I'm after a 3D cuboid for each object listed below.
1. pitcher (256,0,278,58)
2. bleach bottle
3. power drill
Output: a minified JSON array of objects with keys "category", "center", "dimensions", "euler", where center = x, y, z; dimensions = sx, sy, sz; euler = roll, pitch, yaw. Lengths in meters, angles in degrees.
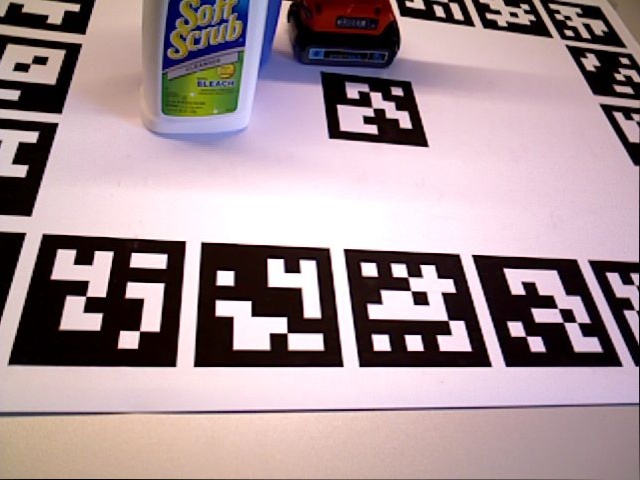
[{"category":"pitcher","center":[-0.088,-0.269,0.443],"dimensions":[0.185,0.248,0.133],"euler":[-22,65,-26]},{"category":"bleach bottle","center":[-0.085,-0.198,0.369],"dimensions":[0.101,0.257,0.067],"euler":[-4,57,-16]},{"category":"power drill","center":[0.071,-0.271,0.495],"dimensions":[0.182,0.191,0.057],"euler":[1,58,-20]}]
